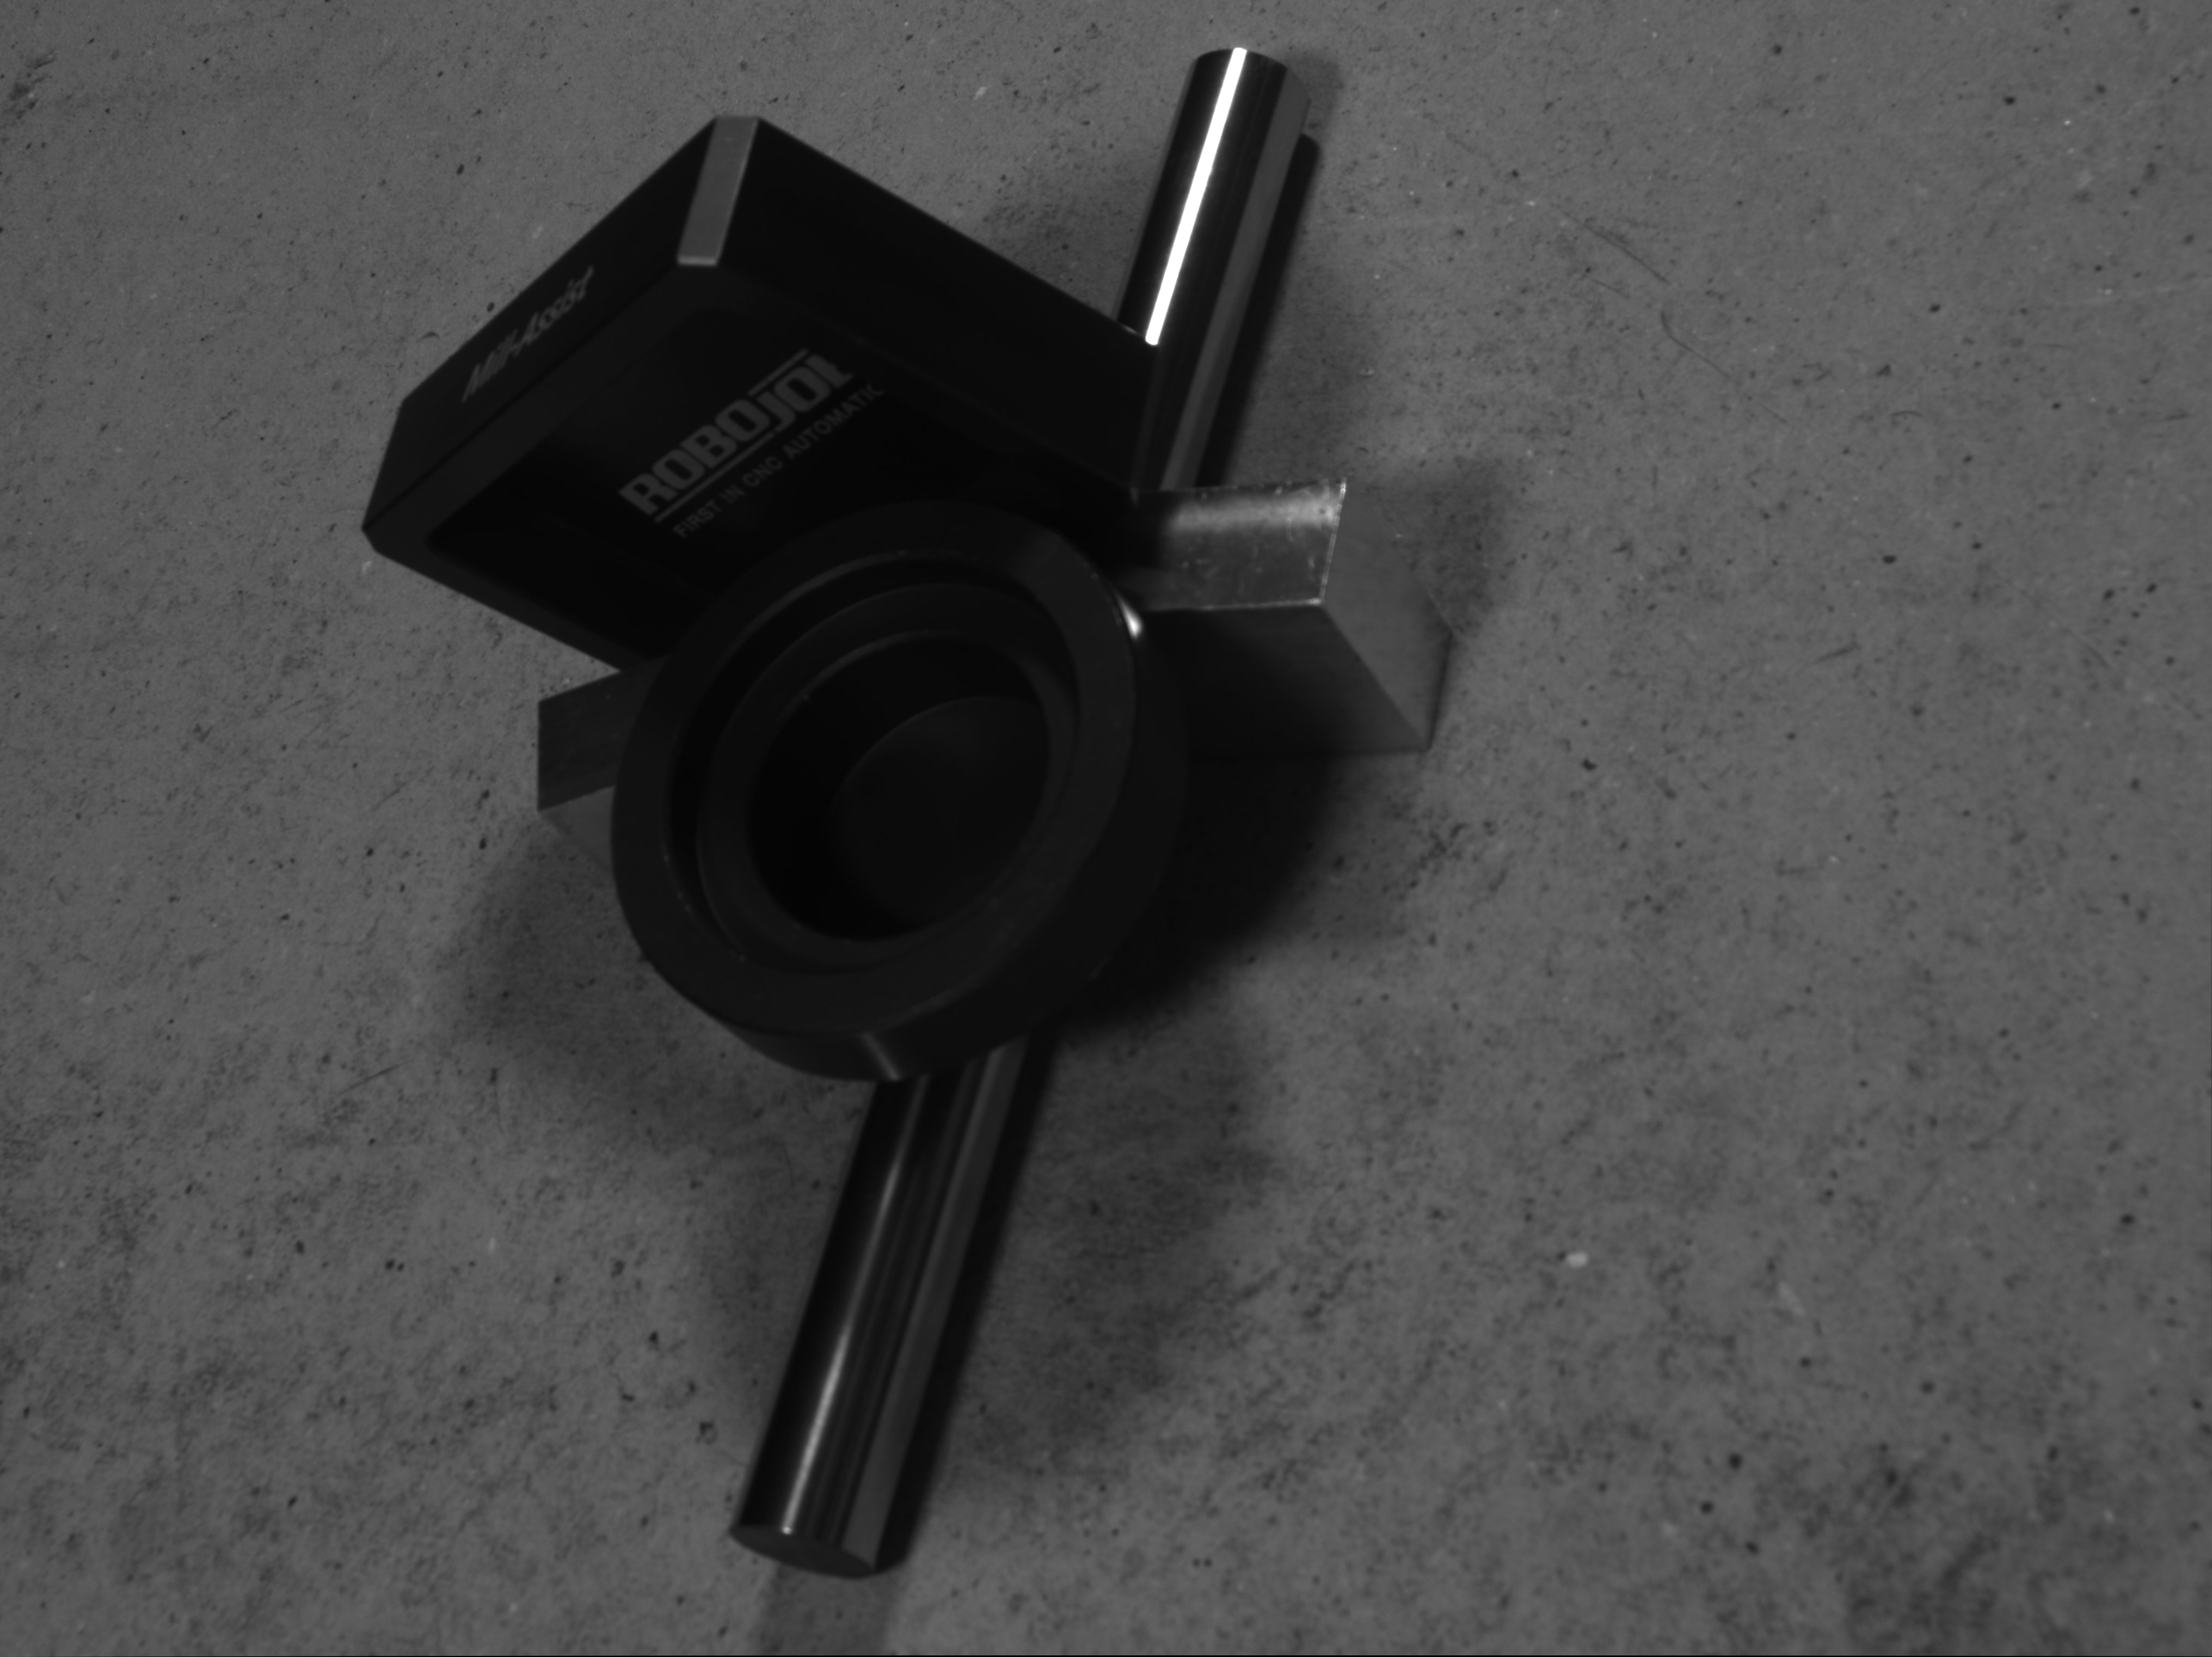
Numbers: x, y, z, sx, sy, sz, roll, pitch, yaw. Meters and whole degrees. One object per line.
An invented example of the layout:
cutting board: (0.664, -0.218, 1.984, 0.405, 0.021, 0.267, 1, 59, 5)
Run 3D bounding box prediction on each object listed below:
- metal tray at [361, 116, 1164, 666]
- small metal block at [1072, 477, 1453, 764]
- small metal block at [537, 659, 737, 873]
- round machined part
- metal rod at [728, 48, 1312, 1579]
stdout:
metal tray: (-0.063, -0.066, 0.647, 0.130, 0.090, 0.030, -27, 43, 50)
small metal block: (0.026, -0.035, 0.636, 0.050, 0.050, 0.025, -2, 61, 28)
small metal block: (-0.069, -0.008, 0.671, 0.050, 0.050, 0.025, -18, 54, 18)
round machined part: (-0.031, -0.003, 0.616, 0.098, 0.042, 0.098, -11, 60, 21)
metal rod: (-0.011, -0.013, 0.659, 0.025, 0.025, 0.300, 2, 63, 29)
